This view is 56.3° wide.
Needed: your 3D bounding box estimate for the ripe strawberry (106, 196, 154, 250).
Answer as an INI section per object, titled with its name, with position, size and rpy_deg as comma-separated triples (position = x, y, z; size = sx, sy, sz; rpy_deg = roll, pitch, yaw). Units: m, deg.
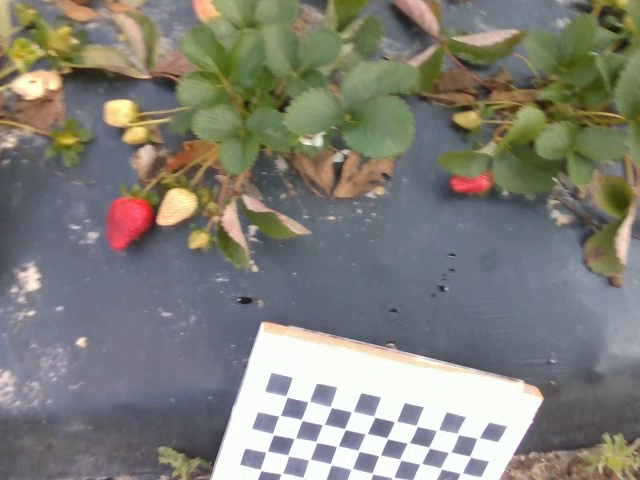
[ripe strawberry]
position = -0.180, -0.018, 0.554
size = 0.050, 0.059, 0.034
rpy_deg = 6, -29, -1
